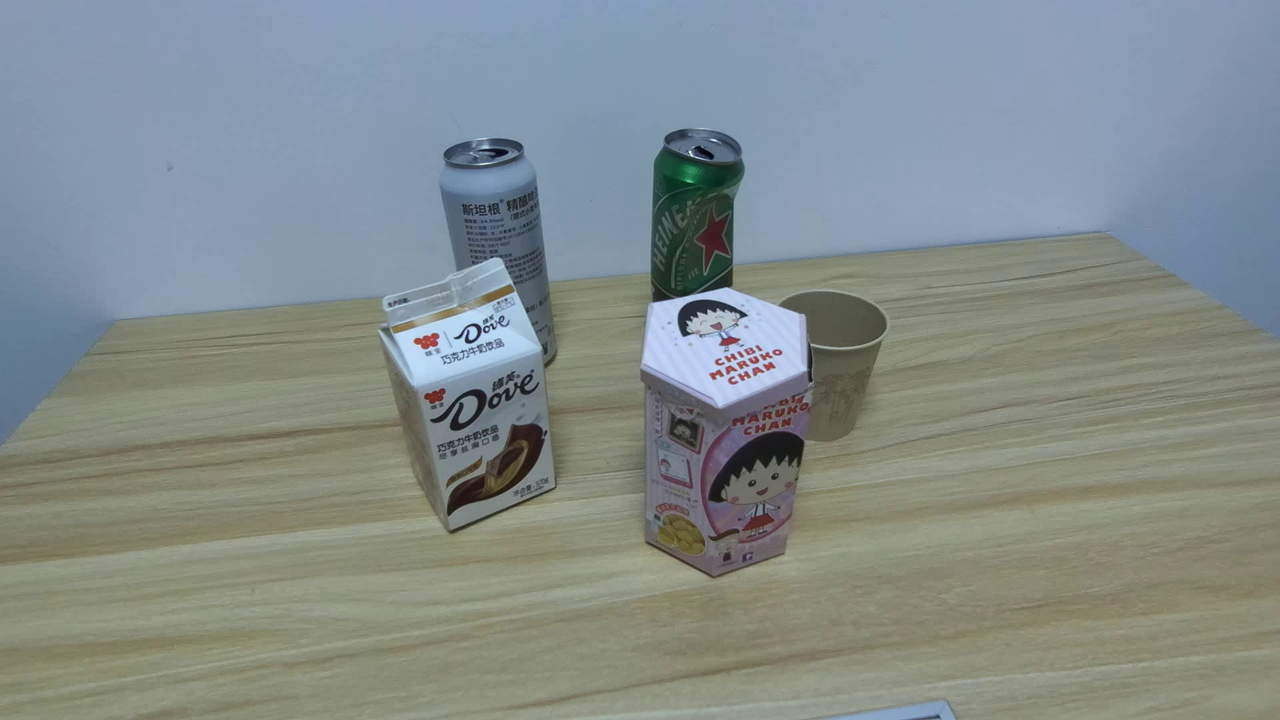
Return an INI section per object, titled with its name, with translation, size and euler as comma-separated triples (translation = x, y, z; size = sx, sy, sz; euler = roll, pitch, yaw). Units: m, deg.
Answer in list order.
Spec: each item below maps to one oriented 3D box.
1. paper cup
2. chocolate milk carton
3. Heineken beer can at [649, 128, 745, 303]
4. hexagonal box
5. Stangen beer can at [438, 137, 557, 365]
[paper cup]
translation = 0.122, 0.007, 0.472
size = 0.075, 0.082, 0.075
euler = -2, 35, 1
[chocolate milk carton]
translation = -0.102, 0.015, 0.417
size = 0.075, 0.148, 0.073
euler = -19, 37, -26
[Heineken beer can]
translation = 0.043, -0.082, 0.528
size = 0.068, 0.168, 0.069
euler = -6, 36, -9
[hexagonal box]
translation = 0.043, 0.040, 0.383
size = 0.092, 0.135, 0.084
euler = -13, 37, -16
[Stangen beer can]
translation = -0.102, -0.072, 0.525
size = 0.067, 0.171, 0.067
euler = -2, 33, 2
